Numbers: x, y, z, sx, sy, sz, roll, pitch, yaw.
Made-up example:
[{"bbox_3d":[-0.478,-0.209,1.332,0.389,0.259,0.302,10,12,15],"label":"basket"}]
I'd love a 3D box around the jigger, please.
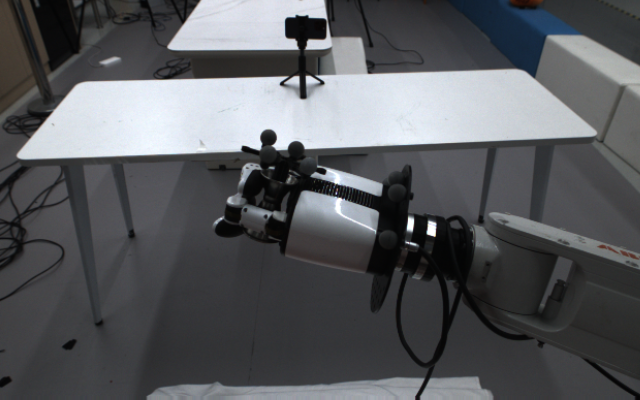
[{"bbox_3d":[-0.050,0.007,0.510,0.043,0.071,0.043,18,17,-6],"label":"jigger"}]
